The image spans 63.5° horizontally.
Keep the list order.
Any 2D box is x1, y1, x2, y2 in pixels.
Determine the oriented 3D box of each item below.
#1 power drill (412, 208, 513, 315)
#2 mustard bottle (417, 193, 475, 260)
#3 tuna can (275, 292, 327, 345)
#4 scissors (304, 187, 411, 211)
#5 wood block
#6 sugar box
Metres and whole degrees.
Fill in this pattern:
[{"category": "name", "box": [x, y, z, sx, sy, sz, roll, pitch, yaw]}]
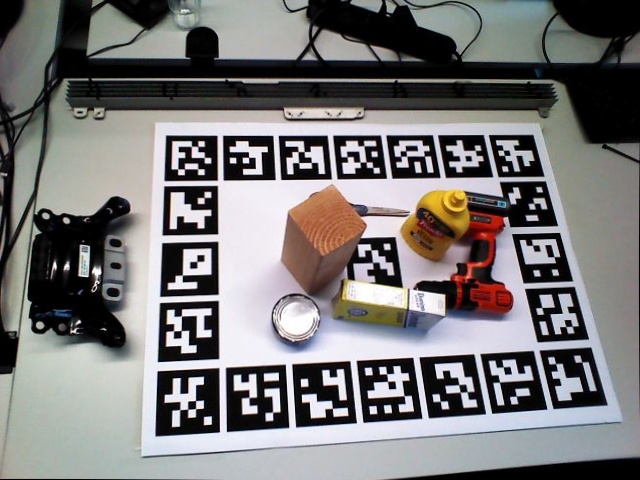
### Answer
[{"category": "power drill", "box": [0.268, 0.035, 0.939, 0.185, 0.057, 0.186, 11, 76, -2]}, {"category": "mustard bottle", "box": [0.224, -0.032, 0.896, 0.058, 0.192, 0.096, -42, 80, -18]}, {"category": "tuna can", "box": [-0.033, 0.134, 0.876, 0.086, 0.034, 0.085, 2, 70, -7]}, {"category": "scissors", "box": [0.073, -0.059, 0.973, 0.203, 0.016, 0.087, 1, 65, -6]}, {"category": "wood block", "box": [0.010, 0.006, 0.850, 0.090, 0.207, 0.090, -29, 76, -16]}, {"category": "sugar box", "box": [0.134, 0.114, 0.877, 0.176, 0.093, 0.045, 10, 65, -5]}]
